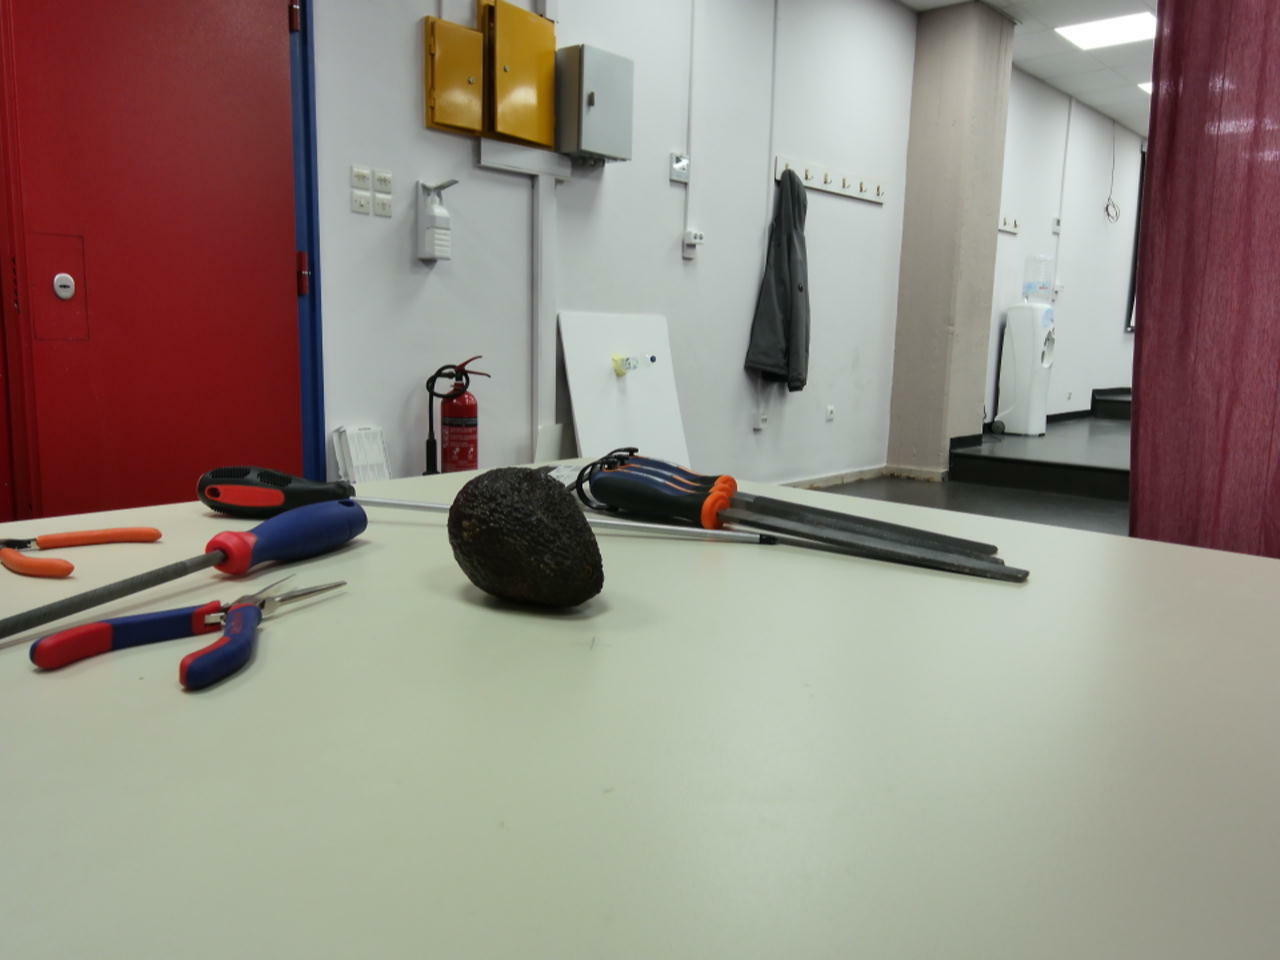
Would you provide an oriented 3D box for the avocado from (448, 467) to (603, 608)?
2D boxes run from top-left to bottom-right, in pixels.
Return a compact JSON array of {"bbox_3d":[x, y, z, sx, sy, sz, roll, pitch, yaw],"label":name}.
[{"bbox_3d":[-0.061,0.029,0.517,0.070,0.069,0.090,-2,7,-23],"label":"avocado"}]
